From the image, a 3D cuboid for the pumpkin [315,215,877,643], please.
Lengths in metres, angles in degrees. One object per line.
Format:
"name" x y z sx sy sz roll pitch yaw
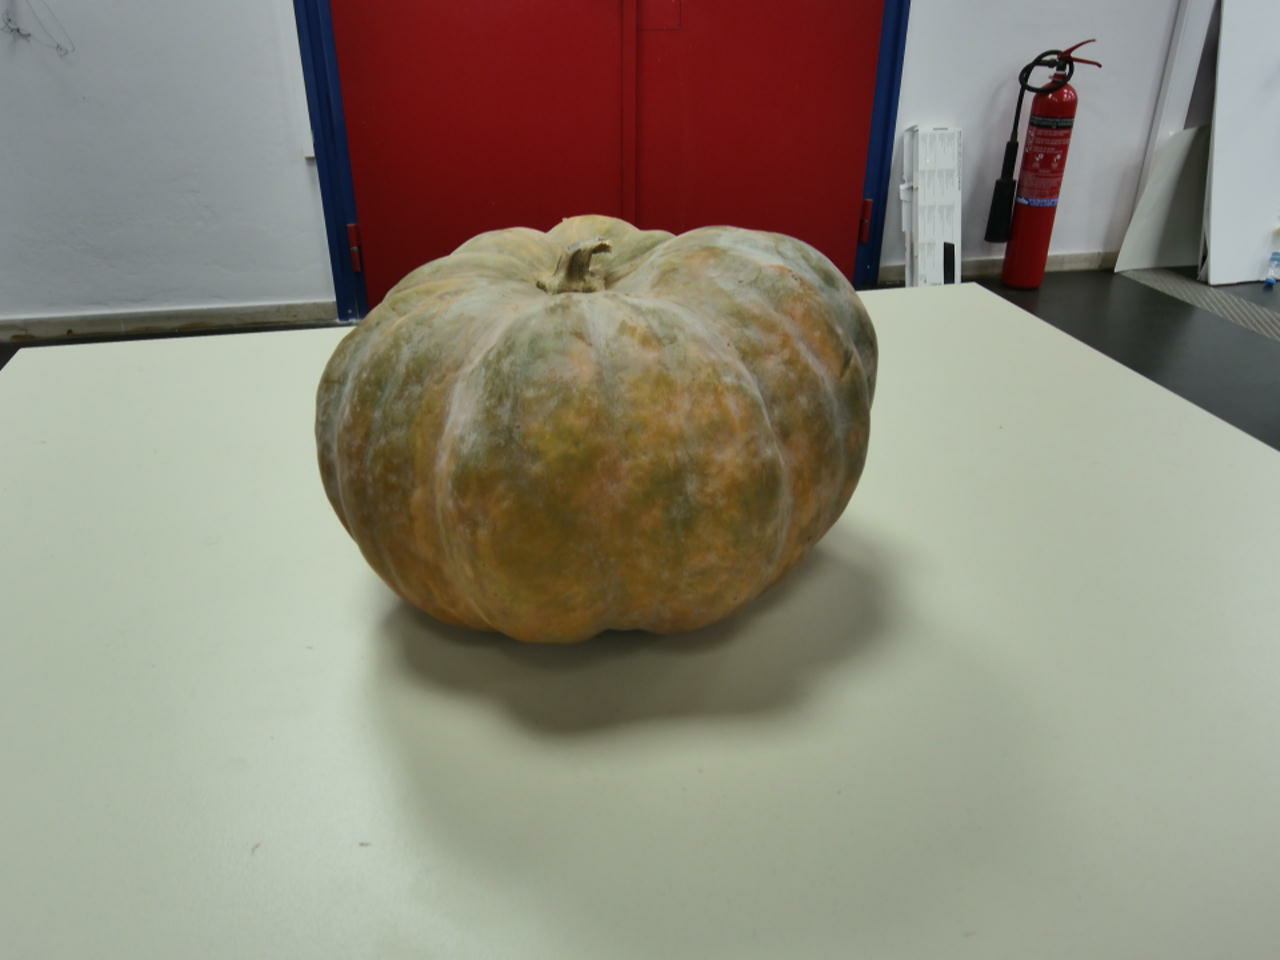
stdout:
"pumpkin" -0.023 -0.030 0.460 0.252 0.169 0.251 0 26 0
